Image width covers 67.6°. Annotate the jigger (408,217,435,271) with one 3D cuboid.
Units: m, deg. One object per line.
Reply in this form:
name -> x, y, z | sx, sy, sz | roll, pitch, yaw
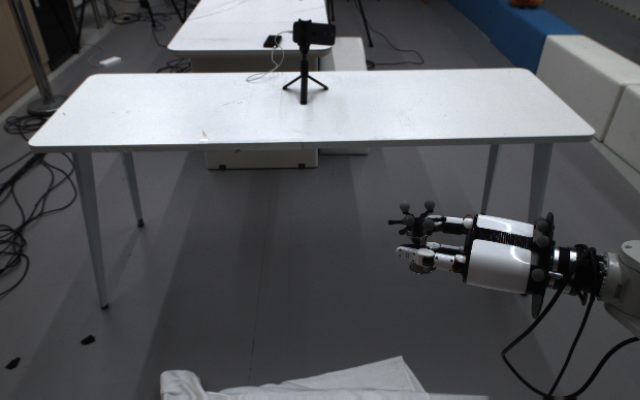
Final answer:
jigger -> 0.161, 0.075, 0.776 | 0.043, 0.071, 0.043 | -11, 23, 5
